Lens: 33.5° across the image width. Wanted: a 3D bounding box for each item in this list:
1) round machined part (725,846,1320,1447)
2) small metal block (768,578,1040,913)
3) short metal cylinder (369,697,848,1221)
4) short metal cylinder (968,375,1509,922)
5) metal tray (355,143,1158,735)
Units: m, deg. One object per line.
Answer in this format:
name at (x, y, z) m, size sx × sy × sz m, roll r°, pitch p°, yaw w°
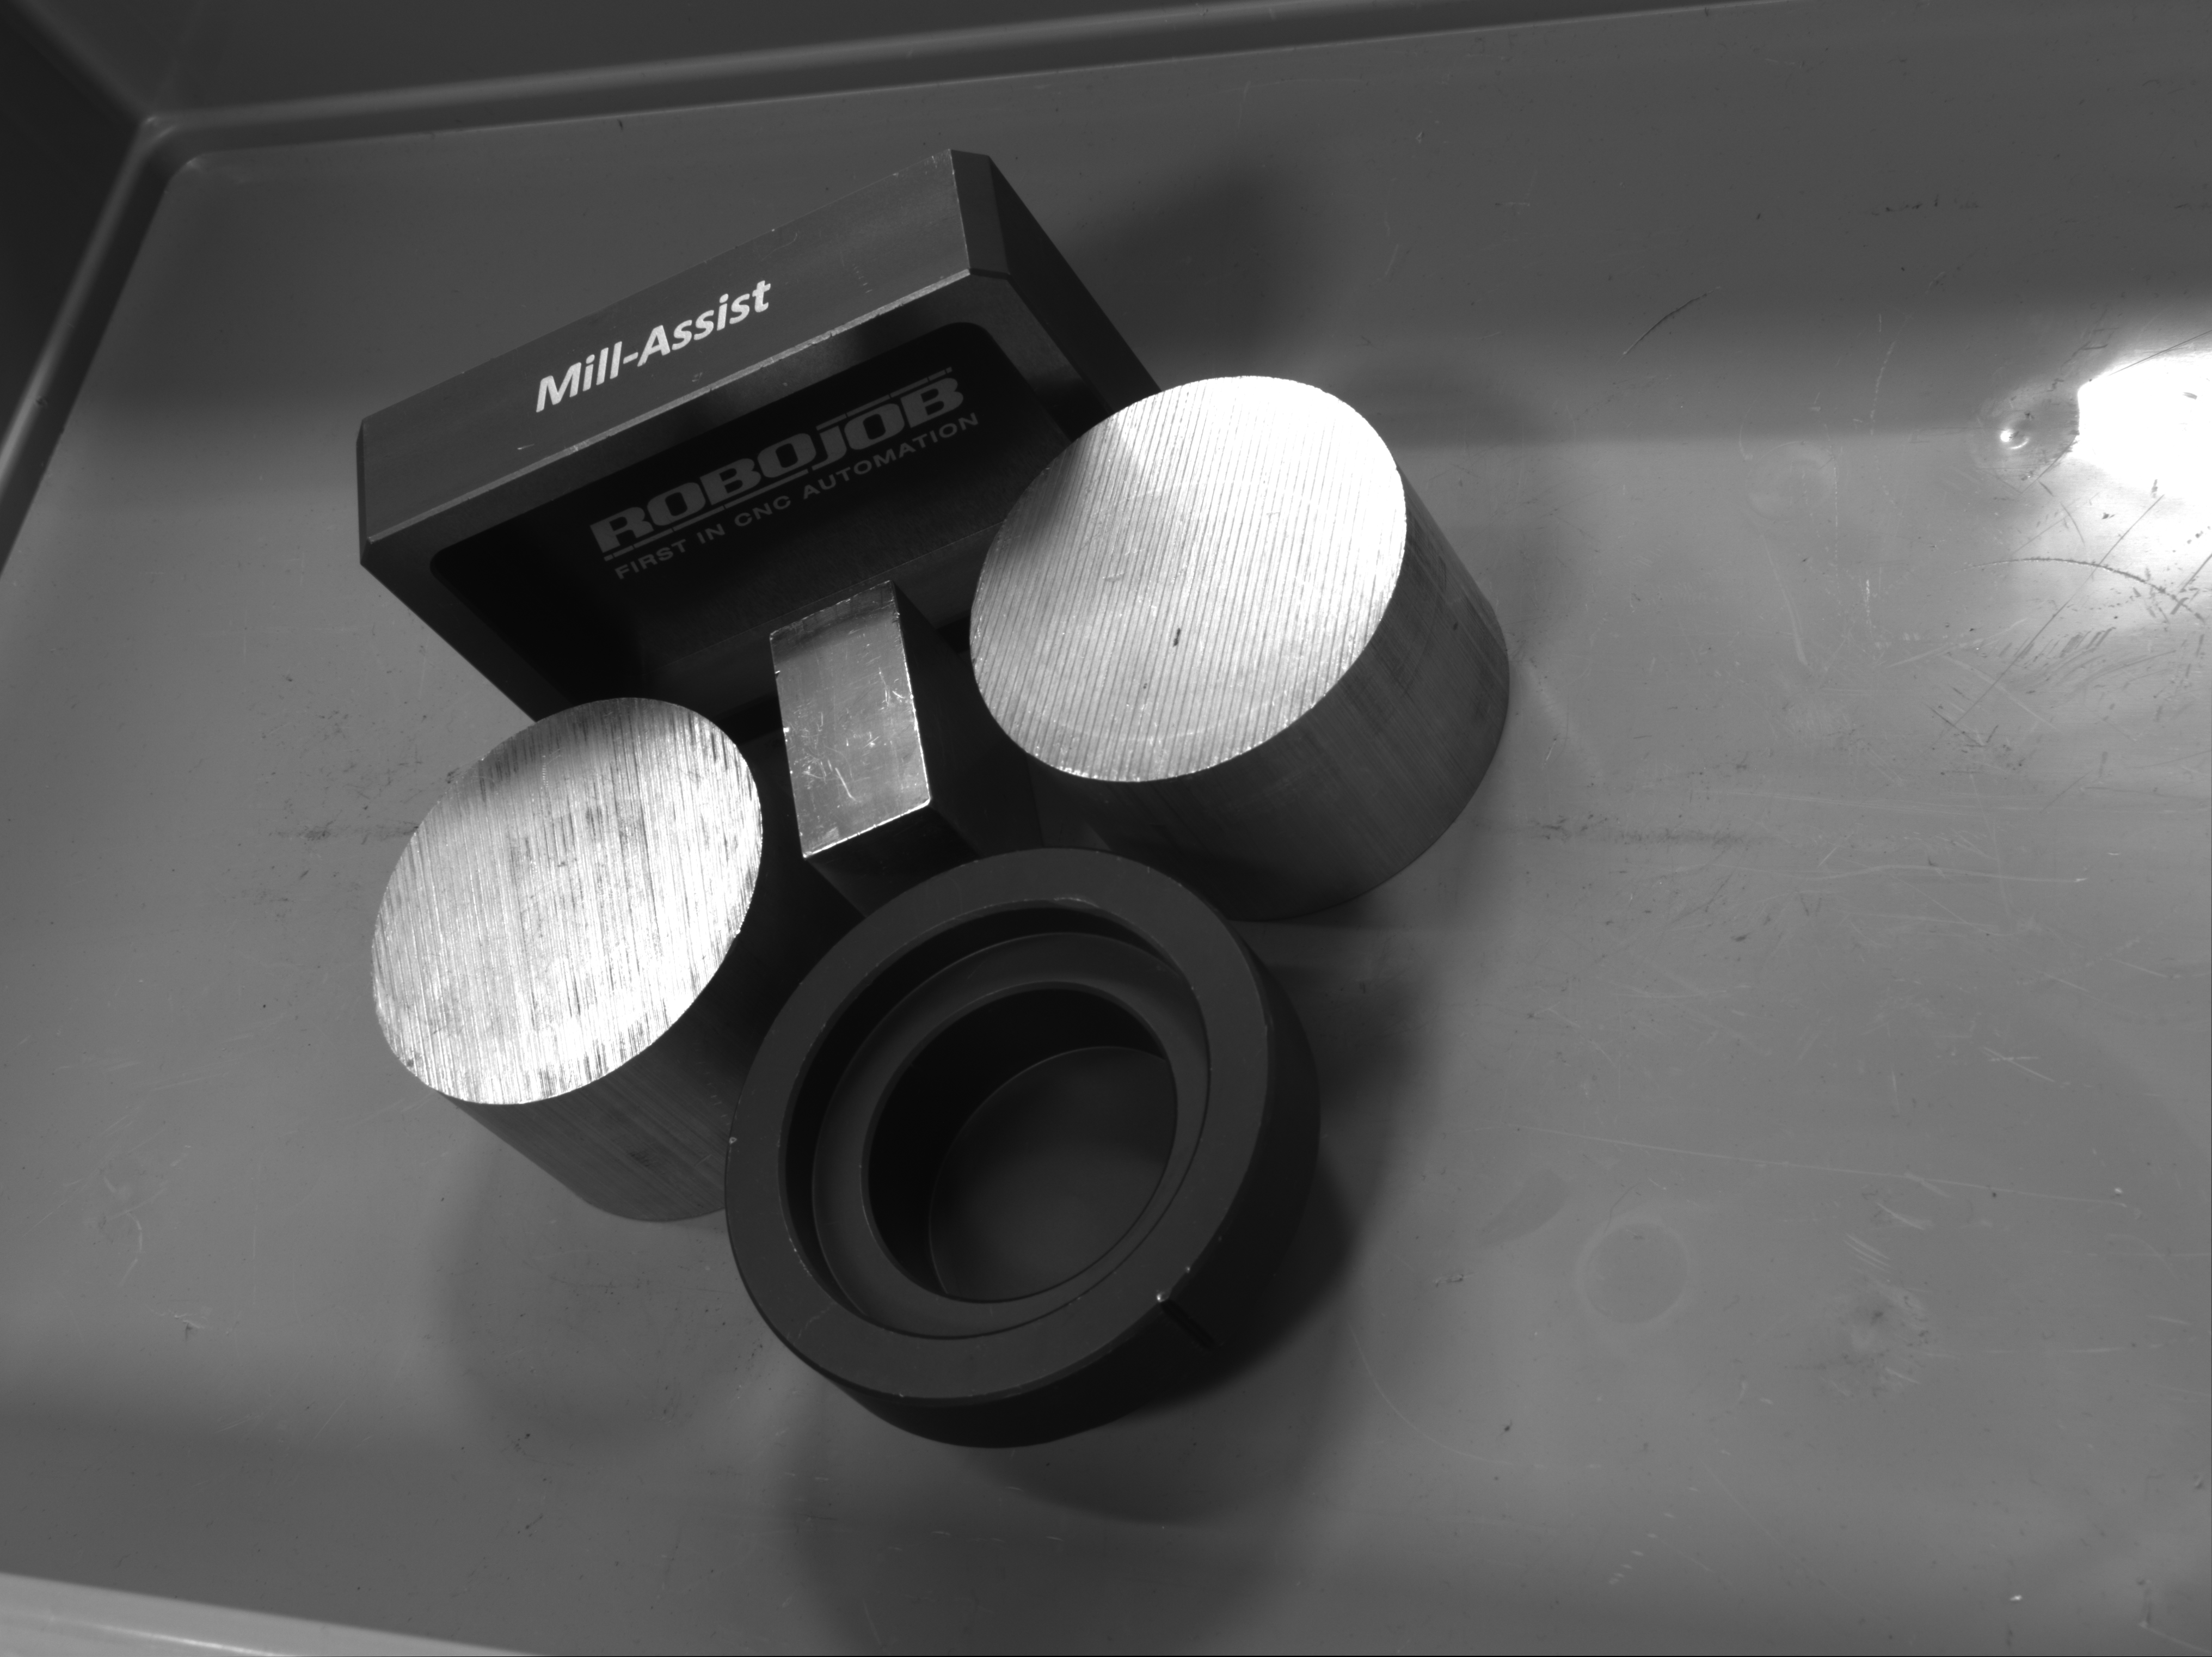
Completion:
round machined part at (-0.010, 0.055, 0.604) m, size 0.098 × 0.042 × 0.098 m, roll -14°, pitch 56°, yaw 21°
small metal block at (-0.034, -0.007, 0.650) m, size 0.025 × 0.050 × 0.050 m, roll -23°, pitch 53°, yaw 15°
short metal cylinder at (-0.084, 0.024, 0.659) m, size 0.080 × 0.050 × 0.080 m, roll -14°, pitch 56°, yaw 21°
short metal cylinder at (0.023, -0.031, 0.634) m, size 0.080 × 0.050 × 0.080 m, roll -14°, pitch 56°, yaw 21°
metal tray at (-0.059, -0.063, 0.672) m, size 0.130 × 0.090 × 0.030 m, roll -22°, pitch 53°, yaw 16°
